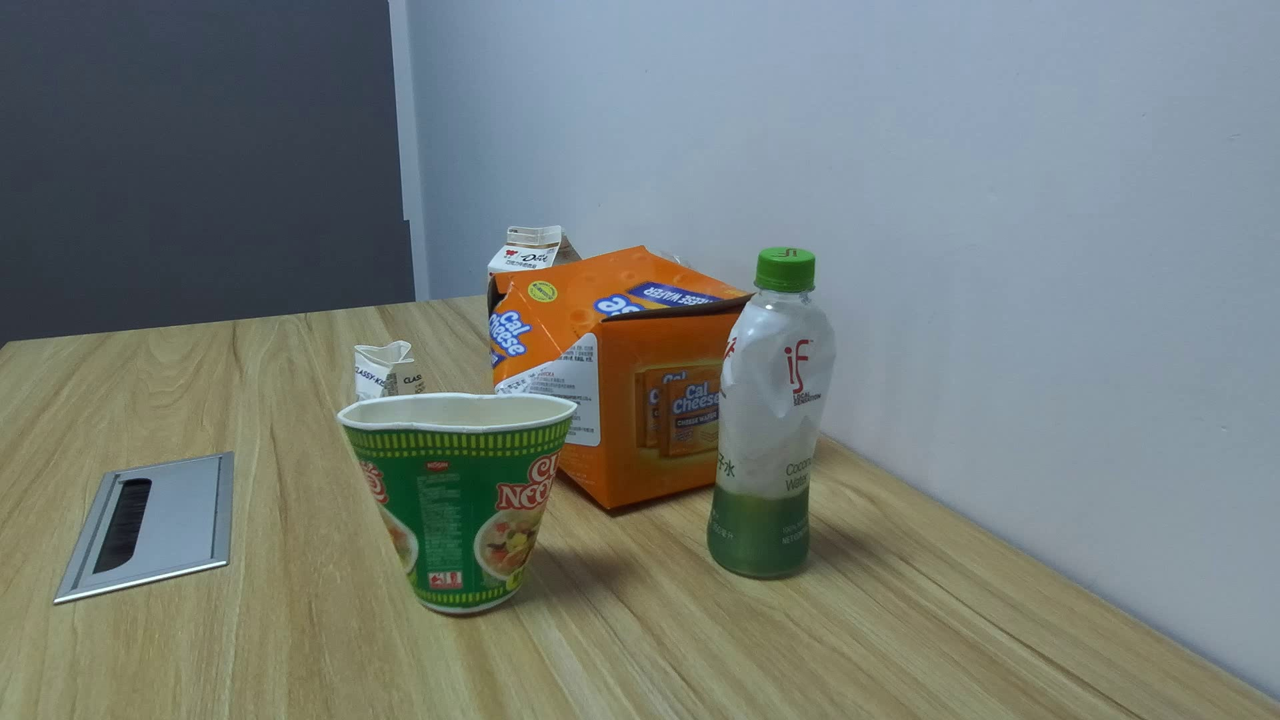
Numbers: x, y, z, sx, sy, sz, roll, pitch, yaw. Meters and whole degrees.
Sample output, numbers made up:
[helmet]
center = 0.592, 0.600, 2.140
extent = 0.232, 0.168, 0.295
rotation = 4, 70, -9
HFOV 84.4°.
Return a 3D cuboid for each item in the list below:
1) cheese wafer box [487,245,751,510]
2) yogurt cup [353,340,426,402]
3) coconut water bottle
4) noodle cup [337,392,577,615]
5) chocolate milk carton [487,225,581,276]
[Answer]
[cheese wafer box]
center = -0.023, -0.002, 0.562
extent = 0.192, 0.145, 0.218
rotation = -10, 23, -30
[yogurt cup]
center = -0.205, 0.026, 0.584
extent = 0.055, 0.072, 0.054
rotation = -6, 23, -21
[coconut water bottle]
center = 0.075, 0.031, 0.407
extent = 0.067, 0.187, 0.067
rotation = 2, 20, 0
[noodle cup]
center = -0.099, 0.074, 0.392
extent = 0.115, 0.111, 0.070
rotation = 8, 23, 15
[chocolate milk carton]
center = -0.104, -0.066, 0.726
extent = 0.075, 0.148, 0.074
rotation = 11, 23, 25
